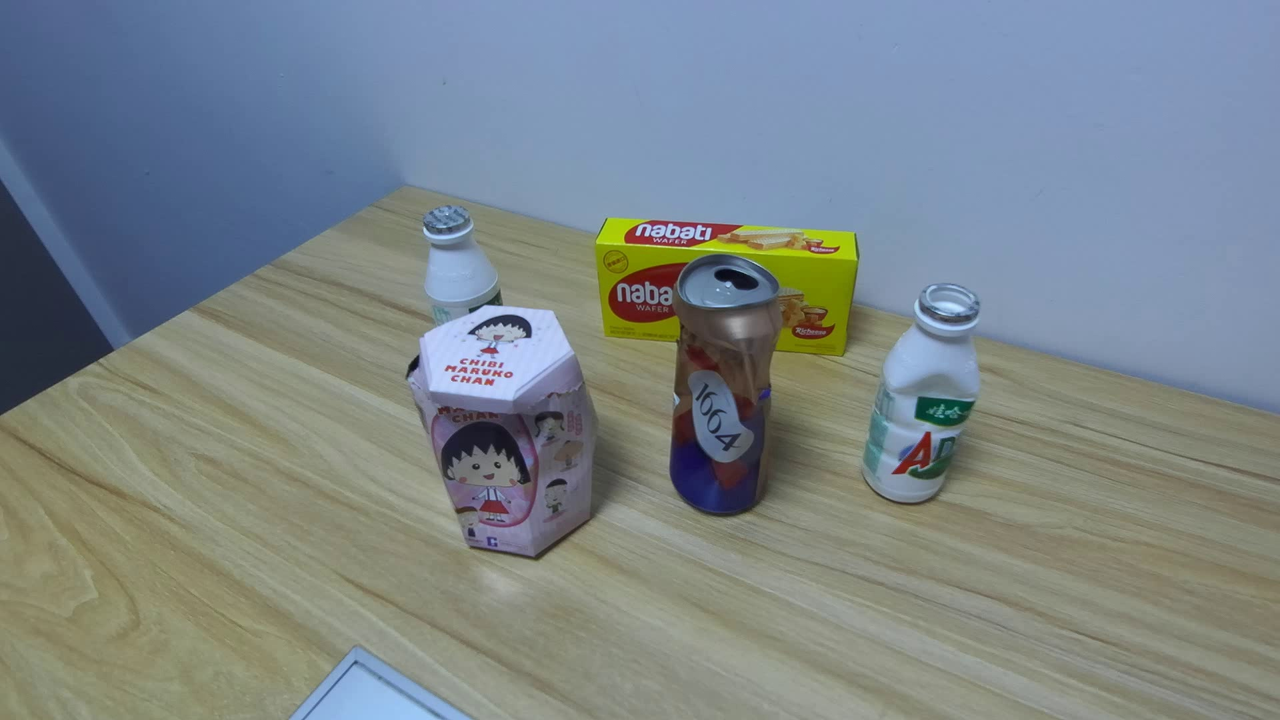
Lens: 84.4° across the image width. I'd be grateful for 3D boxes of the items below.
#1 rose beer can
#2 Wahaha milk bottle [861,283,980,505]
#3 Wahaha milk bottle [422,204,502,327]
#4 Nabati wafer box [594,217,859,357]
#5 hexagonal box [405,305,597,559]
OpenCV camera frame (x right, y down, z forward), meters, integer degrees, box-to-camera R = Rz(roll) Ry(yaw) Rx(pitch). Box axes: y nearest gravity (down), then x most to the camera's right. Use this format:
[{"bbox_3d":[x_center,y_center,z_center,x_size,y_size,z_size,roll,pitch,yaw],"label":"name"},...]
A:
[{"bbox_3d":[0.049,0.020,0.424,0.073,0.162,0.068,20,44,24],"label":"rose beer can"},{"bbox_3d":[0.170,0.023,0.423,0.056,0.148,0.056,-2,41,2],"label":"Wahaha milk bottle"},{"bbox_3d":[-0.128,-0.042,0.525,0.053,0.147,0.053,-3,41,3],"label":"Wahaha milk bottle"},{"bbox_3d":[0.068,-0.058,0.565,0.202,0.093,0.042,5,40,9],"label":"Nabati wafer box"},{"bbox_3d":[-0.079,0.044,0.430,0.090,0.135,0.090,-26,44,-29],"label":"hexagonal box"}]
